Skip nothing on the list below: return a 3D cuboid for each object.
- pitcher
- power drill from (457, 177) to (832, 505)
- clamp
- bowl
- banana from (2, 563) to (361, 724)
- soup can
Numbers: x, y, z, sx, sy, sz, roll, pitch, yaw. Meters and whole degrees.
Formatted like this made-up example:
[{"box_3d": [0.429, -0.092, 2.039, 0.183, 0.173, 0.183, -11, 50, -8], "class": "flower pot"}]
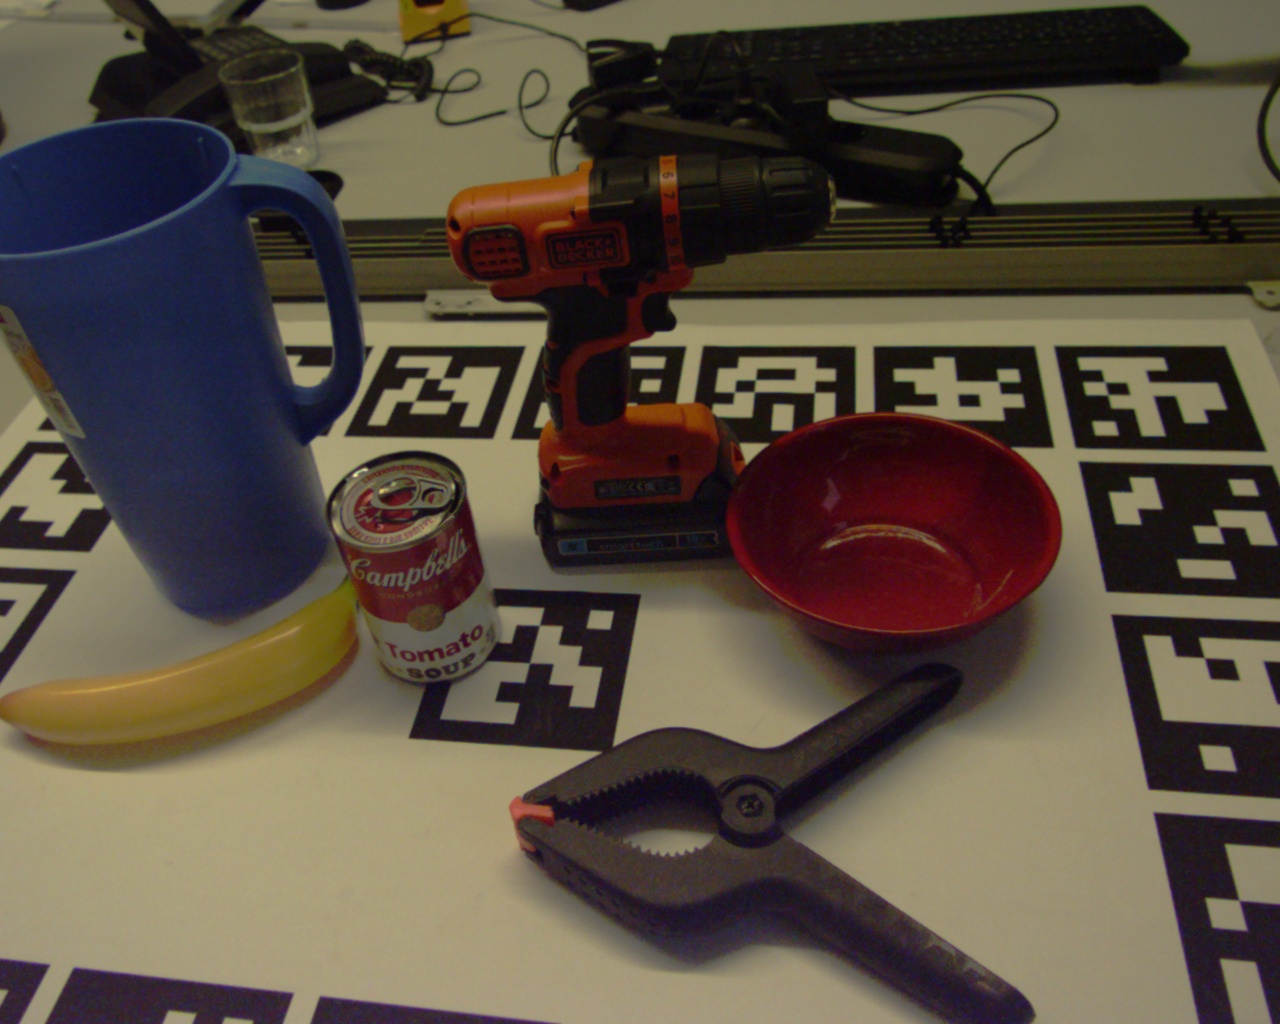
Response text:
[{"box_3d": [-0.235, -0.075, 0.619, 0.188, 0.241, 0.134, -16, 42, -8], "class": "pitcher"}, {"box_3d": [0.006, -0.089, 0.608, 0.185, 0.186, 0.057, -2, 45, 6], "class": "power drill"}, {"box_3d": [0.038, 0.126, 0.508, 0.203, 0.036, 0.166, -1, 49, 8], "class": "clamp"}, {"box_3d": [0.115, 0.014, 0.606, 0.162, 0.055, 0.162, -5, 46, 4], "class": "bowl"}, {"box_3d": [-0.242, 0.078, 0.613, 0.196, 0.038, 0.075, -16, 36, -10], "class": "banana"}, {"box_3d": [-0.116, 0.022, 0.603, 0.068, 0.101, 0.068, -4, 36, 2], "class": "soup can"}]
